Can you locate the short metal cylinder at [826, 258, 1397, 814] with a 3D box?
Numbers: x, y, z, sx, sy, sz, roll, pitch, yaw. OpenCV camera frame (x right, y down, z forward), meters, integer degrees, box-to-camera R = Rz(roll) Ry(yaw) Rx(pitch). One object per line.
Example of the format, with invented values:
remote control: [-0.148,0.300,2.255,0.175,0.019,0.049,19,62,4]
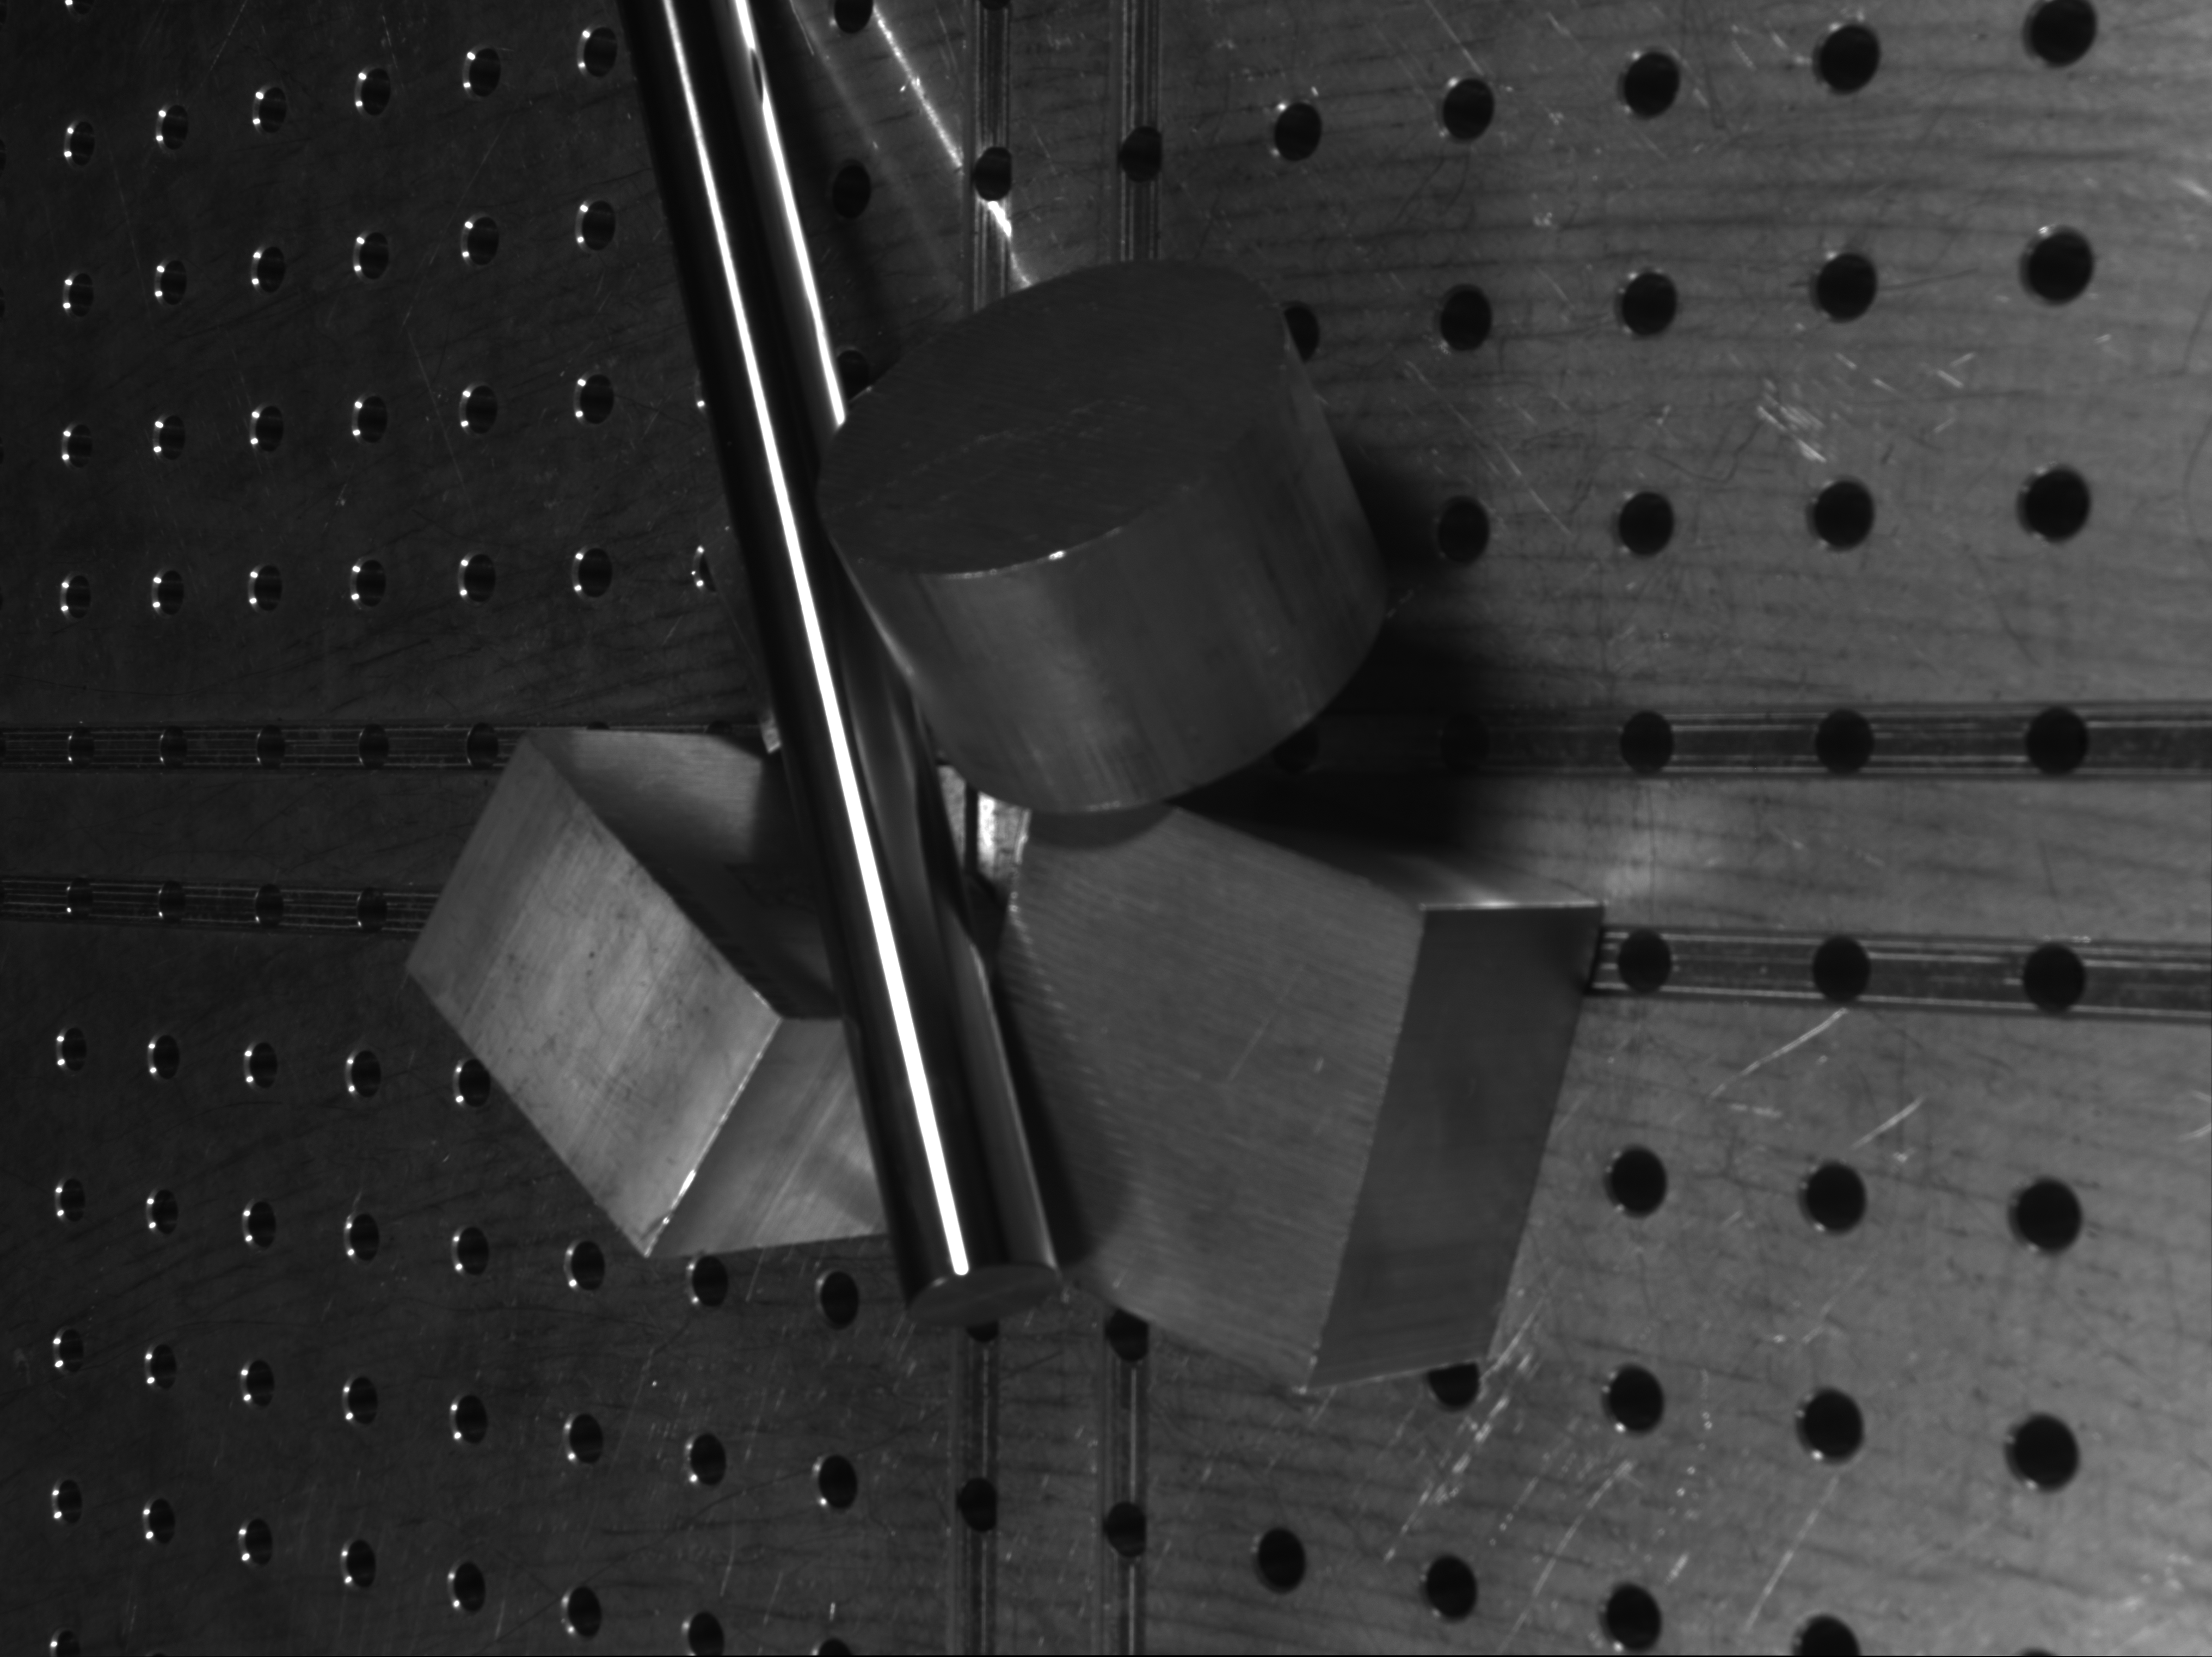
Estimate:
short metal cylinder: [0.001,-0.048,0.594,0.080,0.080,0.050,11,140,39]

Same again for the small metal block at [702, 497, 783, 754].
small metal block: [-0.042,-0.047,0.675,0.050,0.025,0.050,-30,71,35]

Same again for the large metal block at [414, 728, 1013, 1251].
large metal block: [-0.062,0.027,0.654,0.080,0.080,0.050,44,116,30]

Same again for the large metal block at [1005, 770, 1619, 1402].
large metal block: [0.028,0.038,0.600,0.080,0.050,0.080,22,104,37]

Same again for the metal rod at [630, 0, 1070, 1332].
metal rod: [-0.051,-0.056,0.643,0.025,0.025,0.300,-34,57,34]
